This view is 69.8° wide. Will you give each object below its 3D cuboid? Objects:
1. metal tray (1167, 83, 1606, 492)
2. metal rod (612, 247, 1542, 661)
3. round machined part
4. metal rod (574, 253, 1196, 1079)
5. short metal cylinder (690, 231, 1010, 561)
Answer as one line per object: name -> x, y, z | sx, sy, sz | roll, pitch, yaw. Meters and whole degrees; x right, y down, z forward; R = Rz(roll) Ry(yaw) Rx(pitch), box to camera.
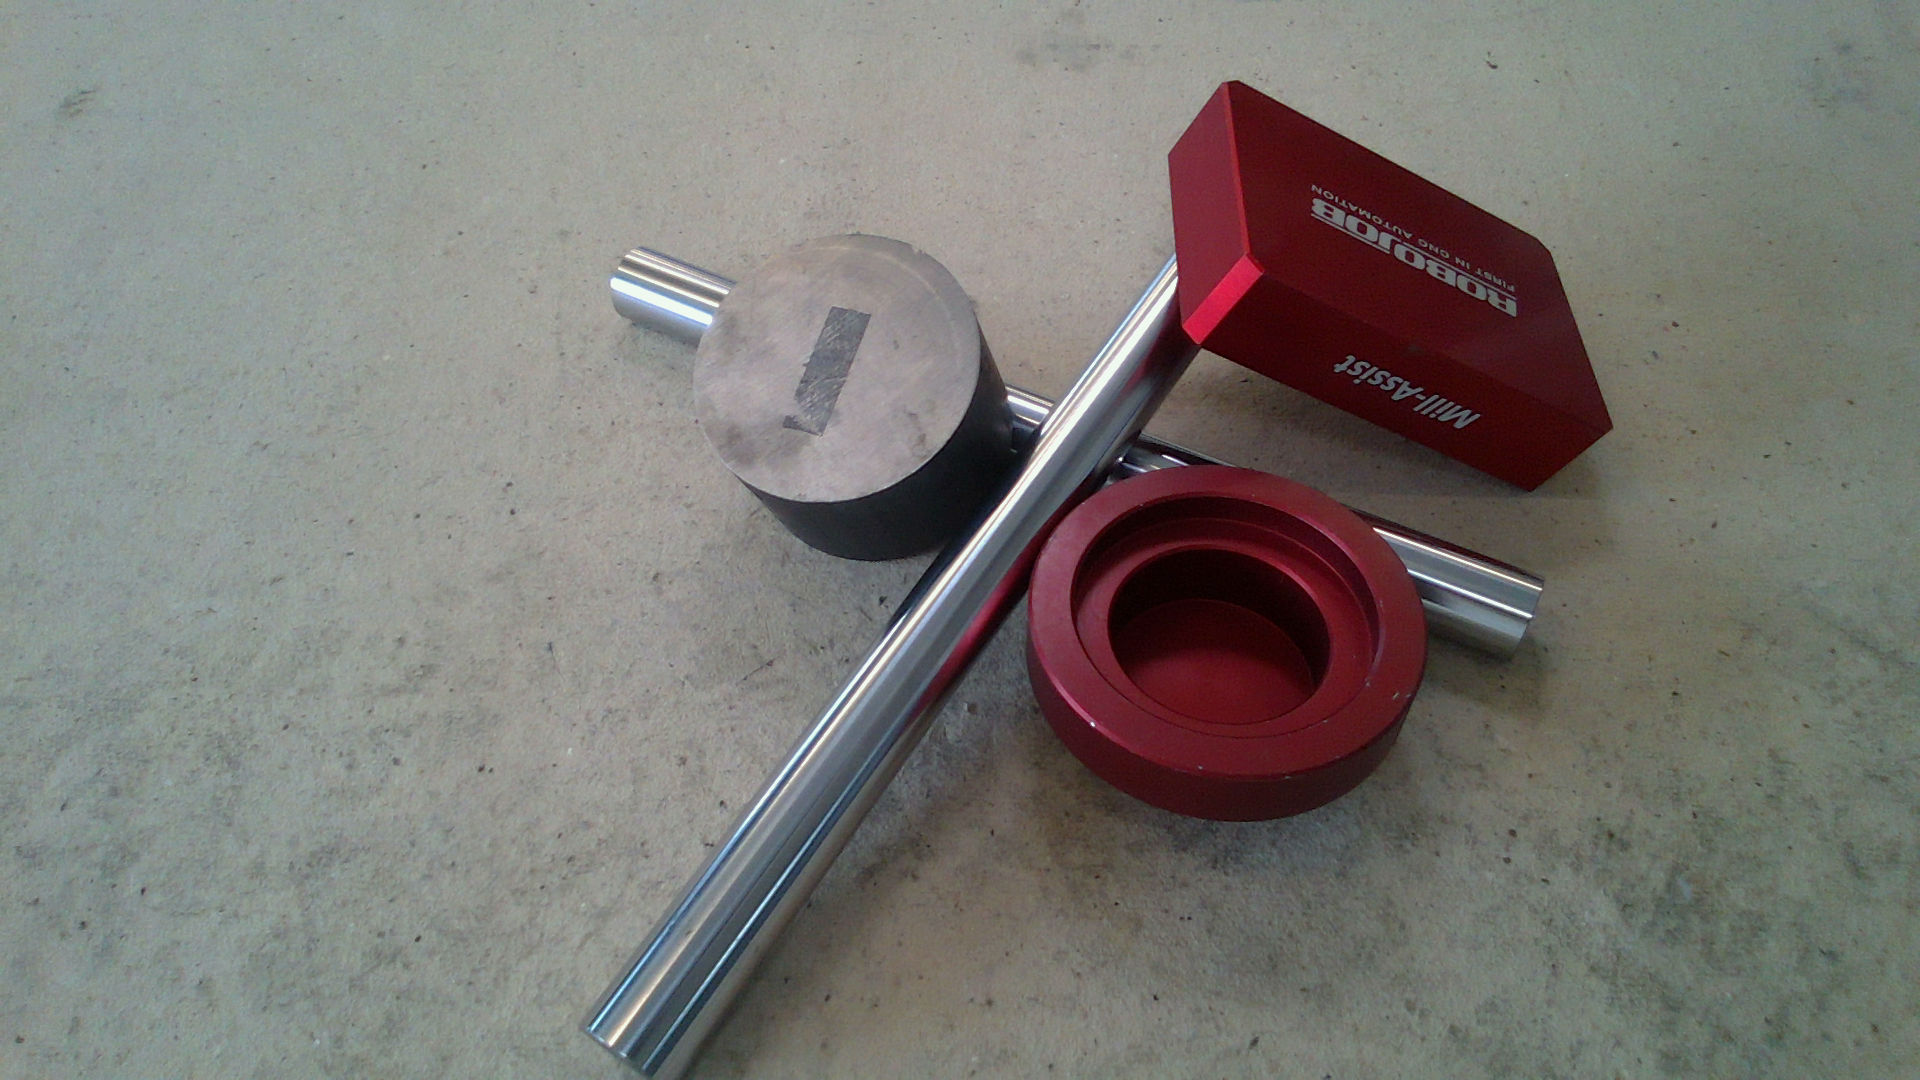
metal tray -> 0.127, -0.076, 0.416 | 0.130, 0.030, 0.090 | 20, 47, -20
metal rod -> 0.022, -0.033, 0.420 | 0.299, 0.025, 0.025 | 22, 53, 18
round machined part -> 0.066, 0.030, 0.356 | 0.098, 0.042, 0.098 | 0, 50, 0
metal rod -> 0.008, 0.005, 0.365 | 0.025, 0.025, 0.301 | 26, 61, 21
short metal cylinder -> -0.030, -0.040, 0.392 | 0.080, 0.050, 0.080 | -4, 70, 11
